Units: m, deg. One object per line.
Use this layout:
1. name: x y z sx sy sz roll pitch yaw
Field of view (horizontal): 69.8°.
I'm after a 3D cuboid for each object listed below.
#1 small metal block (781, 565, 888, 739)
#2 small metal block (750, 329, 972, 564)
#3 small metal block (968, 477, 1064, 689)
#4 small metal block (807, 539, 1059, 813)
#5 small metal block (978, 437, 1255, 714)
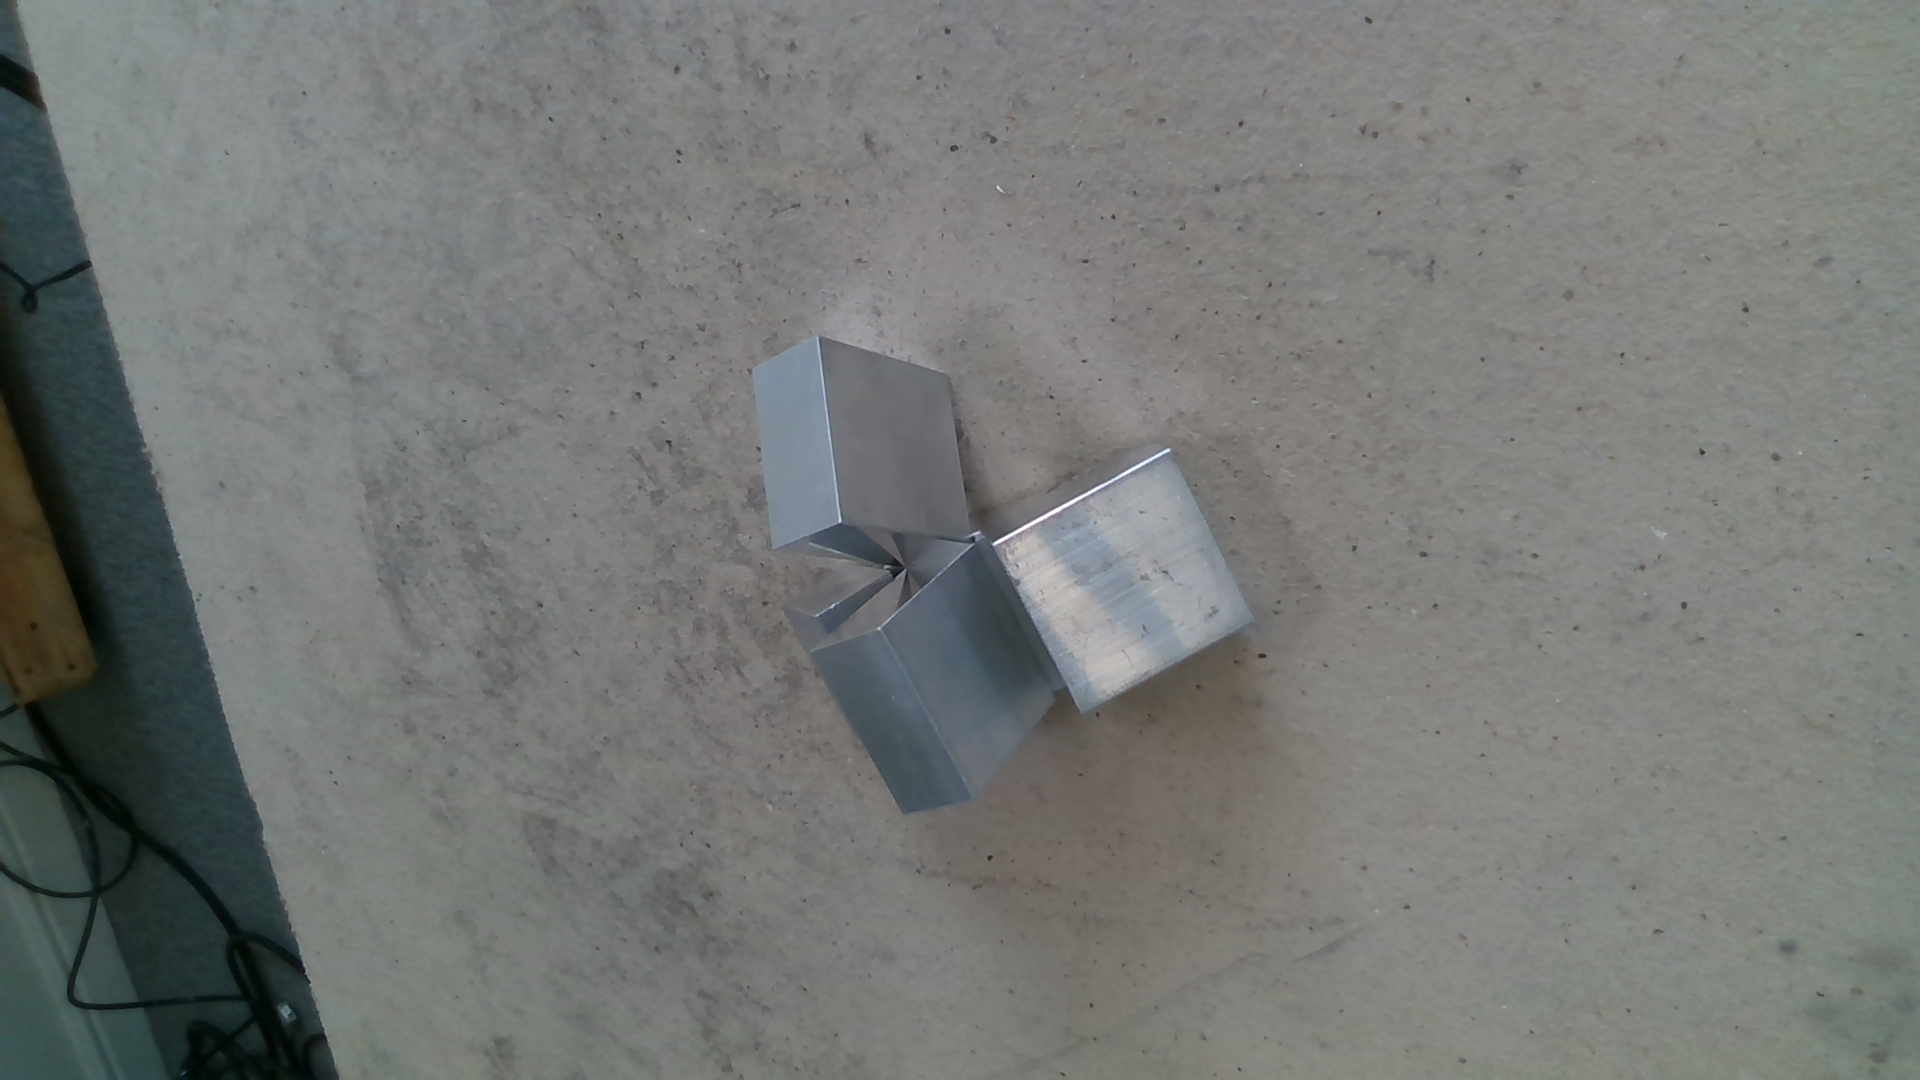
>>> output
1. small metal block: -0.026 0.035 0.409 0.050 0.025 0.050 62 164 -10
2. small metal block: -0.026 -0.023 0.364 0.025 0.050 0.050 -19 72 38
3. small metal block: 0.015 0.016 0.390 0.050 0.025 0.050 -20 101 37
4. small metal block: -0.006 0.035 0.364 0.025 0.050 0.050 -20 103 38
5. small metal block: 0.039 0.008 0.353 0.050 0.025 0.050 -28 100 -2
